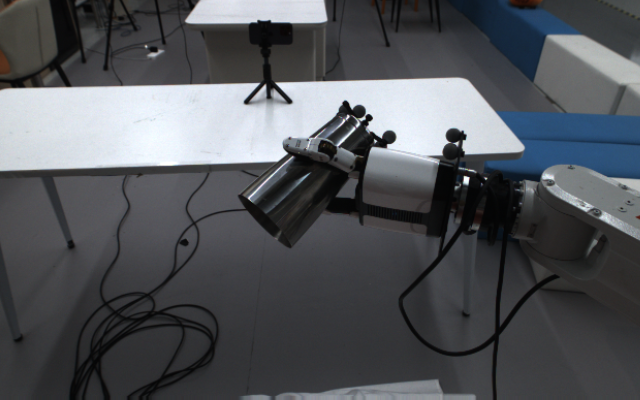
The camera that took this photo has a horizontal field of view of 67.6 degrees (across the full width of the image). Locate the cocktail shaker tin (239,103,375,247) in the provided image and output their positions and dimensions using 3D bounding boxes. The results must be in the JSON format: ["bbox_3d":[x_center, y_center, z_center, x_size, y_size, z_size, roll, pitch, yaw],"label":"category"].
[{"bbox_3d":[-0.010,-0.036,0.613,0.170,0.093,0.093,-43,50,-14],"label":"cocktail shaker tin"}]
